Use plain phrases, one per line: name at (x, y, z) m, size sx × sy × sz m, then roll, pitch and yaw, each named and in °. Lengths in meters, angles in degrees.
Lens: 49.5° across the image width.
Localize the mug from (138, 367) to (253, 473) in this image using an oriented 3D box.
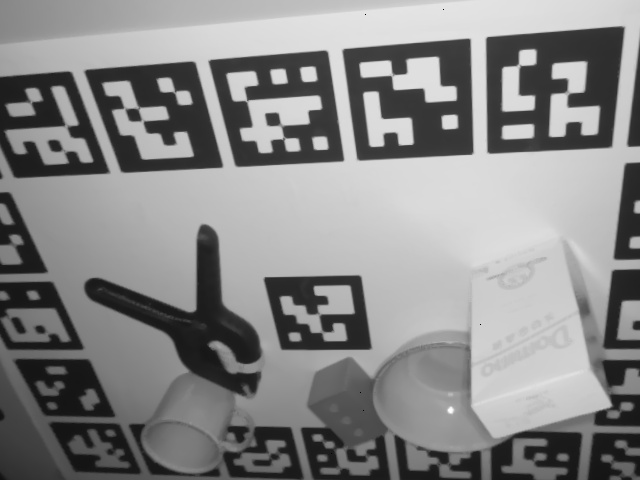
mug at (-0.131, 0.200, 0.773) m, size 0.117 × 0.082 × 0.092 m, roll 22°, pitch 122°, yaw 0°

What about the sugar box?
sugar box at (0.192, 0.057, 0.581) m, size 0.092 × 0.178 × 0.045 m, roll -24°, pitch 112°, yaw 24°

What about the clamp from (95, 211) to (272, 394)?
clamp at (-0.112, 0.081, 0.719) m, size 0.164 × 0.037 × 0.203 m, roll -24°, pitch 114°, yaw 19°

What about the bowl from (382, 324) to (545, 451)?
bowl at (0.146, 0.140, 0.711) m, size 0.161 × 0.056 × 0.160 m, roll 4°, pitch 122°, yaw 8°

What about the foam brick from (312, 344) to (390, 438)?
foam brick at (0.036, 0.162, 0.751) m, size 0.052 × 0.052 × 0.078 m, roll -28°, pitch 112°, yaw 22°
